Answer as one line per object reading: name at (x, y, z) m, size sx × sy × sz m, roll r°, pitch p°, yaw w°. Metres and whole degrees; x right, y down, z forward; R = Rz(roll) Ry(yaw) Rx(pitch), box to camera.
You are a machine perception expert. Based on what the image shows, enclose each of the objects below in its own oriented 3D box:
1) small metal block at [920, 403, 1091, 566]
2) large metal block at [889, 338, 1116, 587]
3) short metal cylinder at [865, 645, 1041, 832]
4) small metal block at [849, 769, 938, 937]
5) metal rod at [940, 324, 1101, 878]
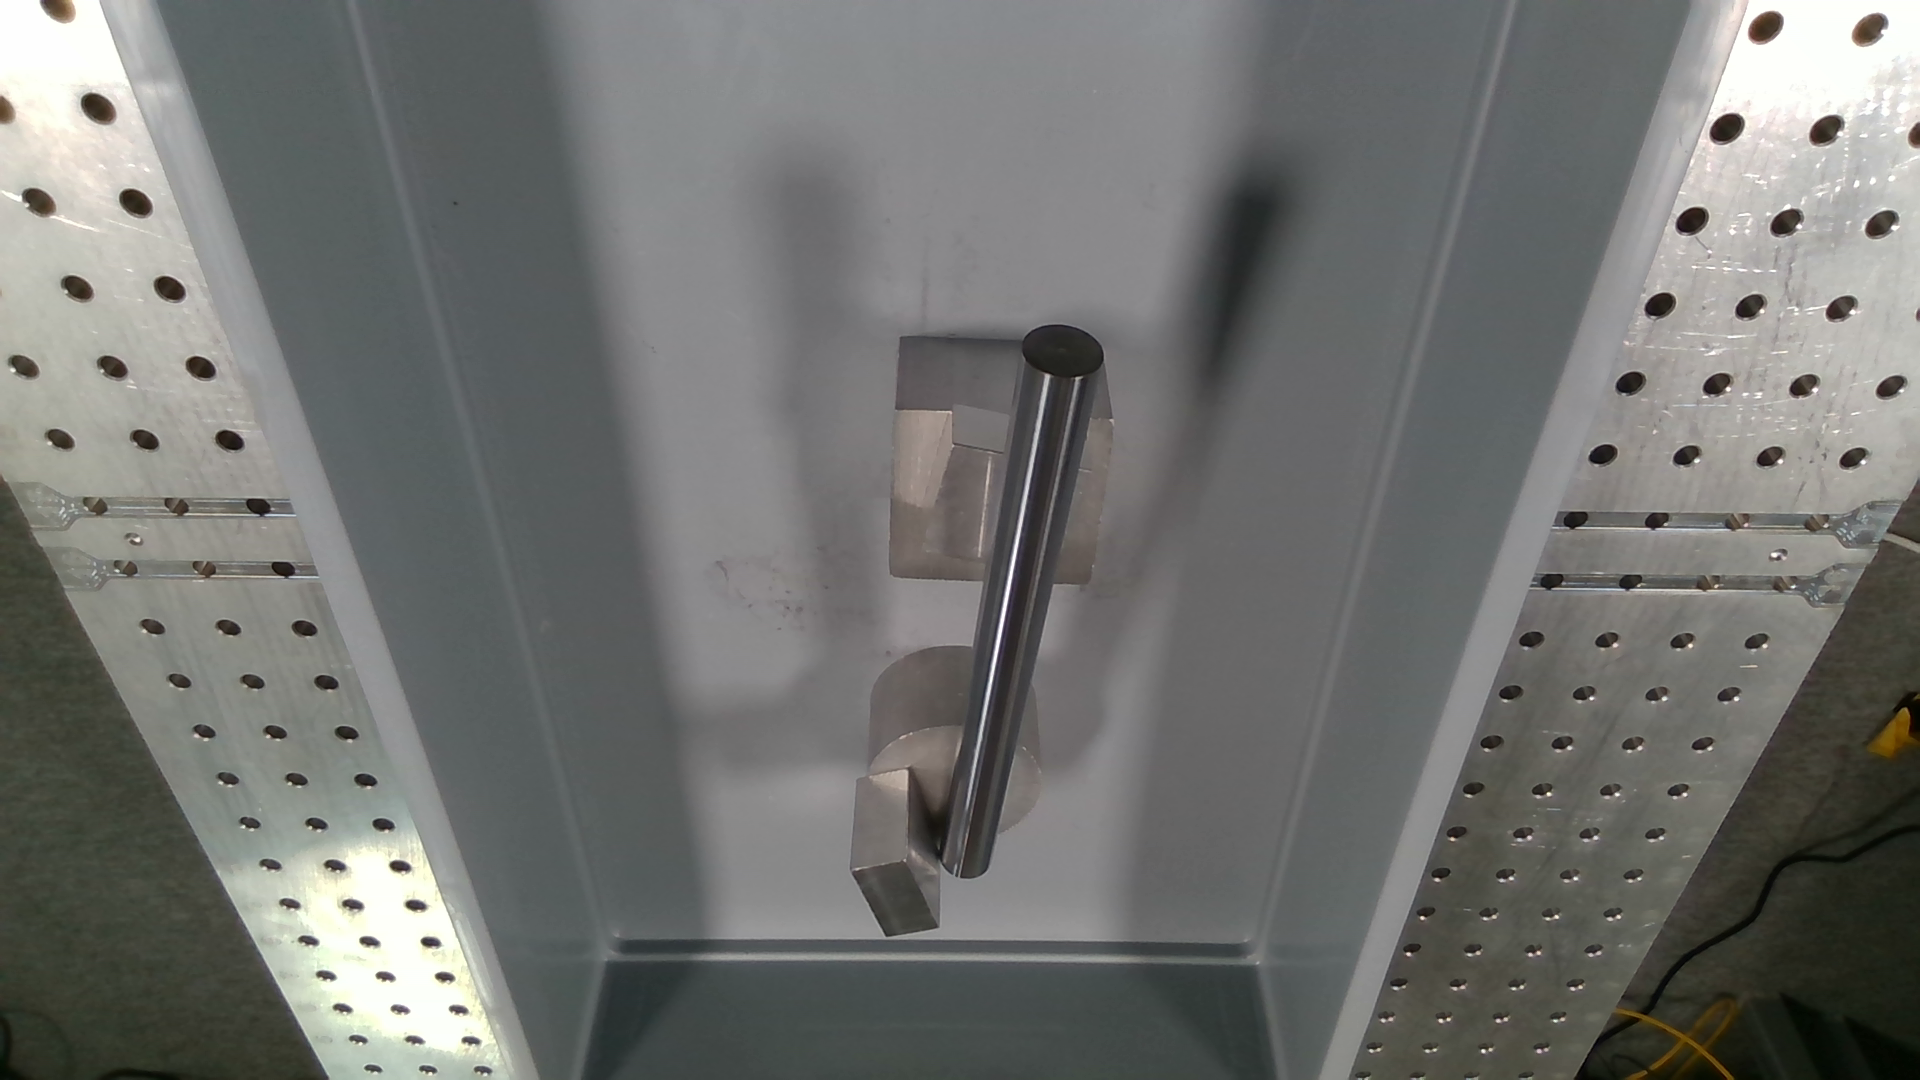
small metal block at (0.015, -0.018, 0.498) m, size 0.050 × 0.025 × 0.050 m, roll 10°, pitch 129°, yaw -9°
large metal block at (0.014, -0.029, 0.535) m, size 0.080 × 0.050 × 0.080 m, roll 2°, pitch 130°, yaw -2°
short metal cylinder at (-0.003, 0.095, 0.641) m, size 0.080 × 0.050 × 0.080 m, roll 0°, pitch 130°, yaw 0°
small metal block at (-0.028, 0.139, 0.612) m, size 0.025 × 0.050 × 0.050 m, roll -11°, pitch 129°, yaw 9°
metal rod at (0.015, 0.044, 0.523) m, size 0.025 × 0.025 × 0.301 m, roll 4°, pitch 137°, yaw -4°
